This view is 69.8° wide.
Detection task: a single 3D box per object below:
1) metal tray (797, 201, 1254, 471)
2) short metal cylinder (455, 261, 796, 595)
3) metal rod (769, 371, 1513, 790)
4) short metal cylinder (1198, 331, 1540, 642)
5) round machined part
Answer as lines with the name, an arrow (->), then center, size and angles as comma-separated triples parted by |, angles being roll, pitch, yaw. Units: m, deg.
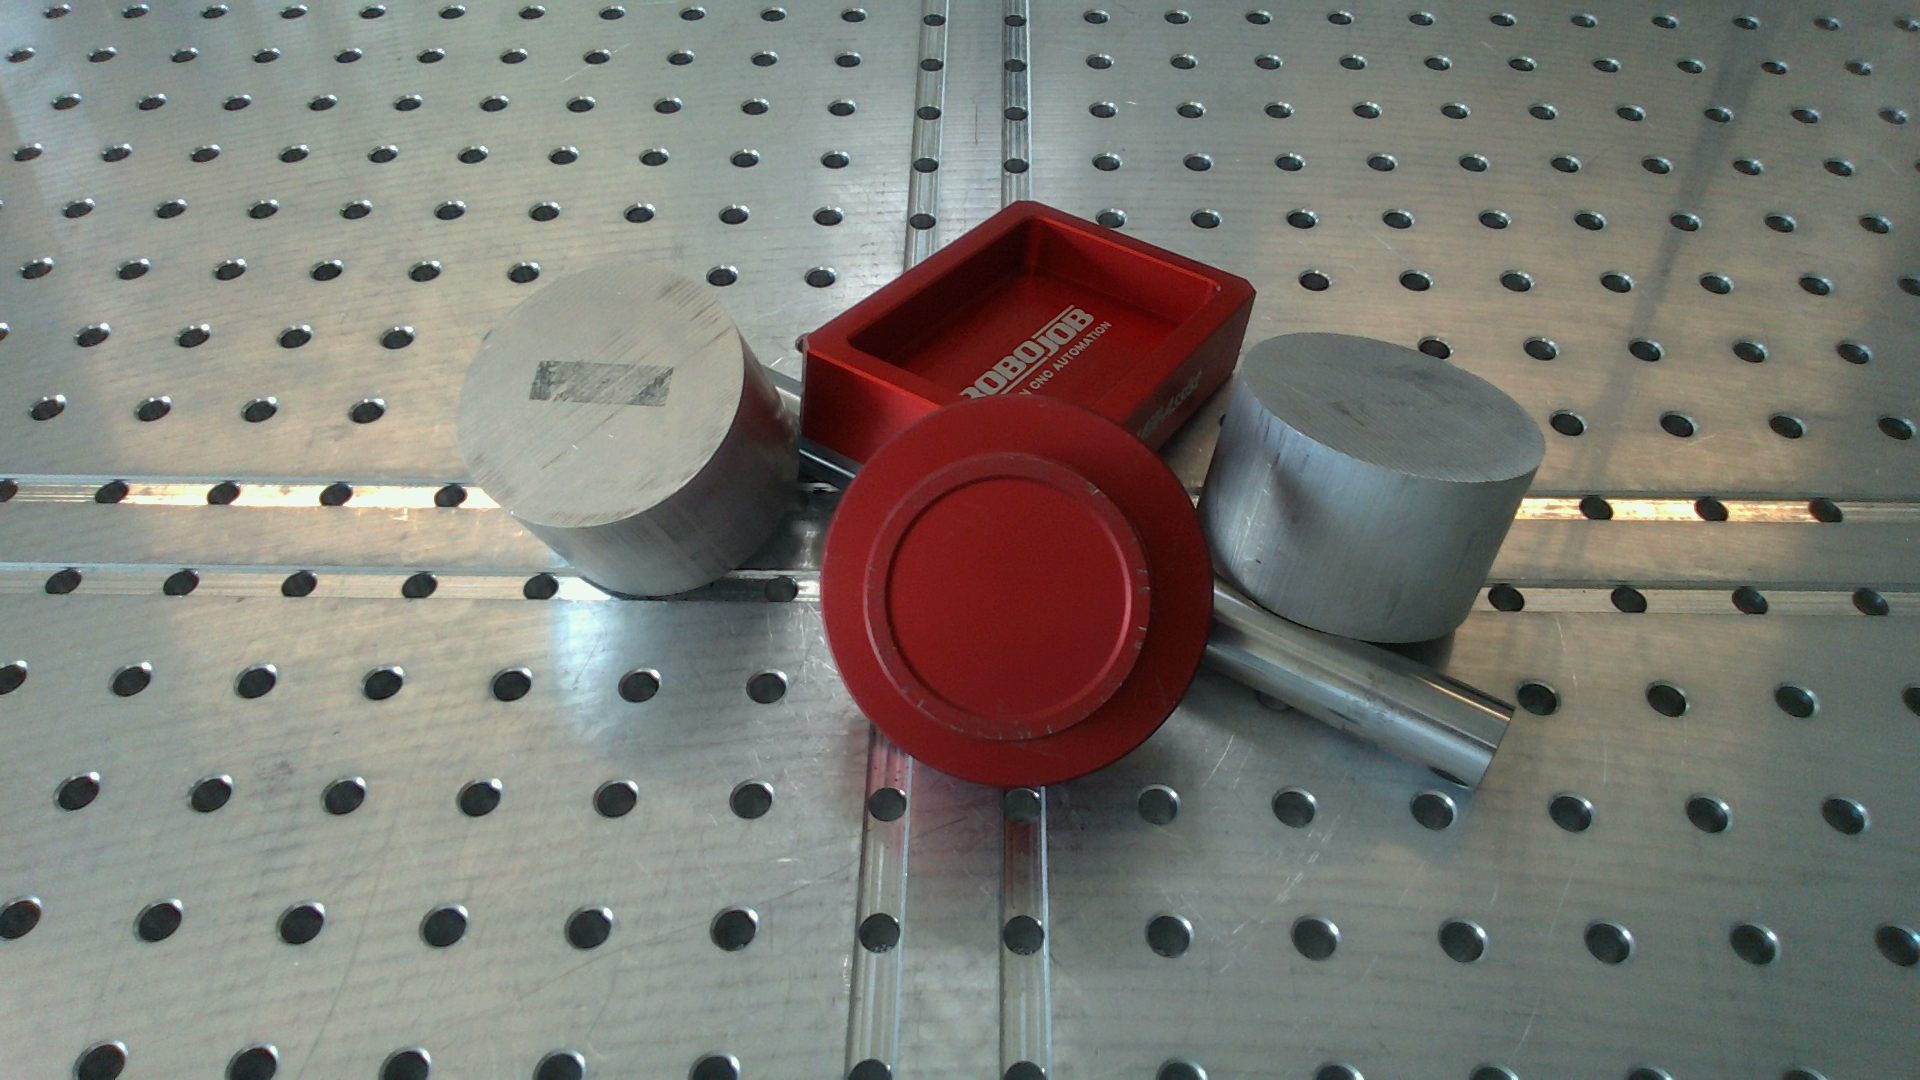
metal tray -> 0.023, -0.058, 0.421 | 0.090, 0.030, 0.130 | 25, 41, 20
short metal cylinder -> -0.092, -0.031, 0.388 | 0.080, 0.050, 0.080 | -4, 66, 9
metal rod -> 0.008, -0.008, 0.401 | 0.299, 0.025, 0.025 | 25, 54, 20
short metal cylinder -> 0.109, -0.017, 0.377 | 0.080, 0.050, 0.080 | 9, 33, -6
round machined part -> 0.013, 0.013, 0.337 | 0.098, 0.042, 0.098 | 0, 92, 6
